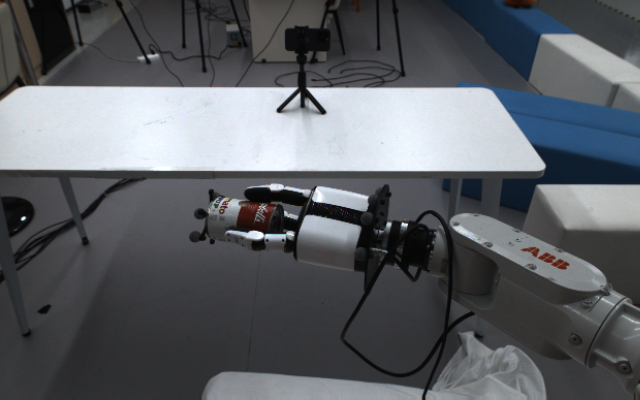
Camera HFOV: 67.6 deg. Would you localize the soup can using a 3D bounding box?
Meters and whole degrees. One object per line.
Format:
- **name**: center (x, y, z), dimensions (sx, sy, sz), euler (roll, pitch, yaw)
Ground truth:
- **soup can**: center (-0.110, 0.035, 0.727), dimensions (0.101, 0.067, 0.067), euler (7, 35, 12)
